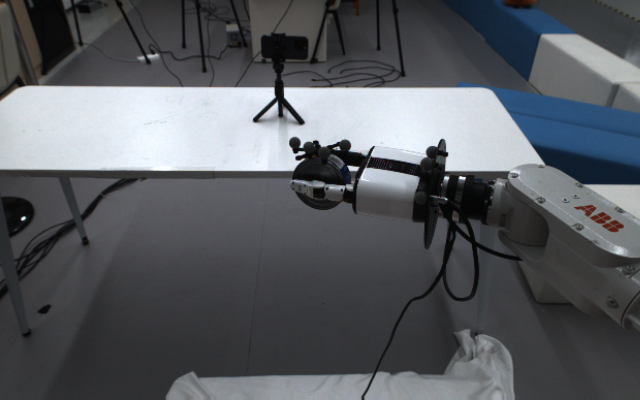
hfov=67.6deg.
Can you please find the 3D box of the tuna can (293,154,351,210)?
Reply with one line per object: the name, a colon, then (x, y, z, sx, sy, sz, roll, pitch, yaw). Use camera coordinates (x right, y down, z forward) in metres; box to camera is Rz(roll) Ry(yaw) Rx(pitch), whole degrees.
tuna can: (0.004, -0.031, 0.740, 0.085, 0.085, 0.034, 14, 29, 16)
